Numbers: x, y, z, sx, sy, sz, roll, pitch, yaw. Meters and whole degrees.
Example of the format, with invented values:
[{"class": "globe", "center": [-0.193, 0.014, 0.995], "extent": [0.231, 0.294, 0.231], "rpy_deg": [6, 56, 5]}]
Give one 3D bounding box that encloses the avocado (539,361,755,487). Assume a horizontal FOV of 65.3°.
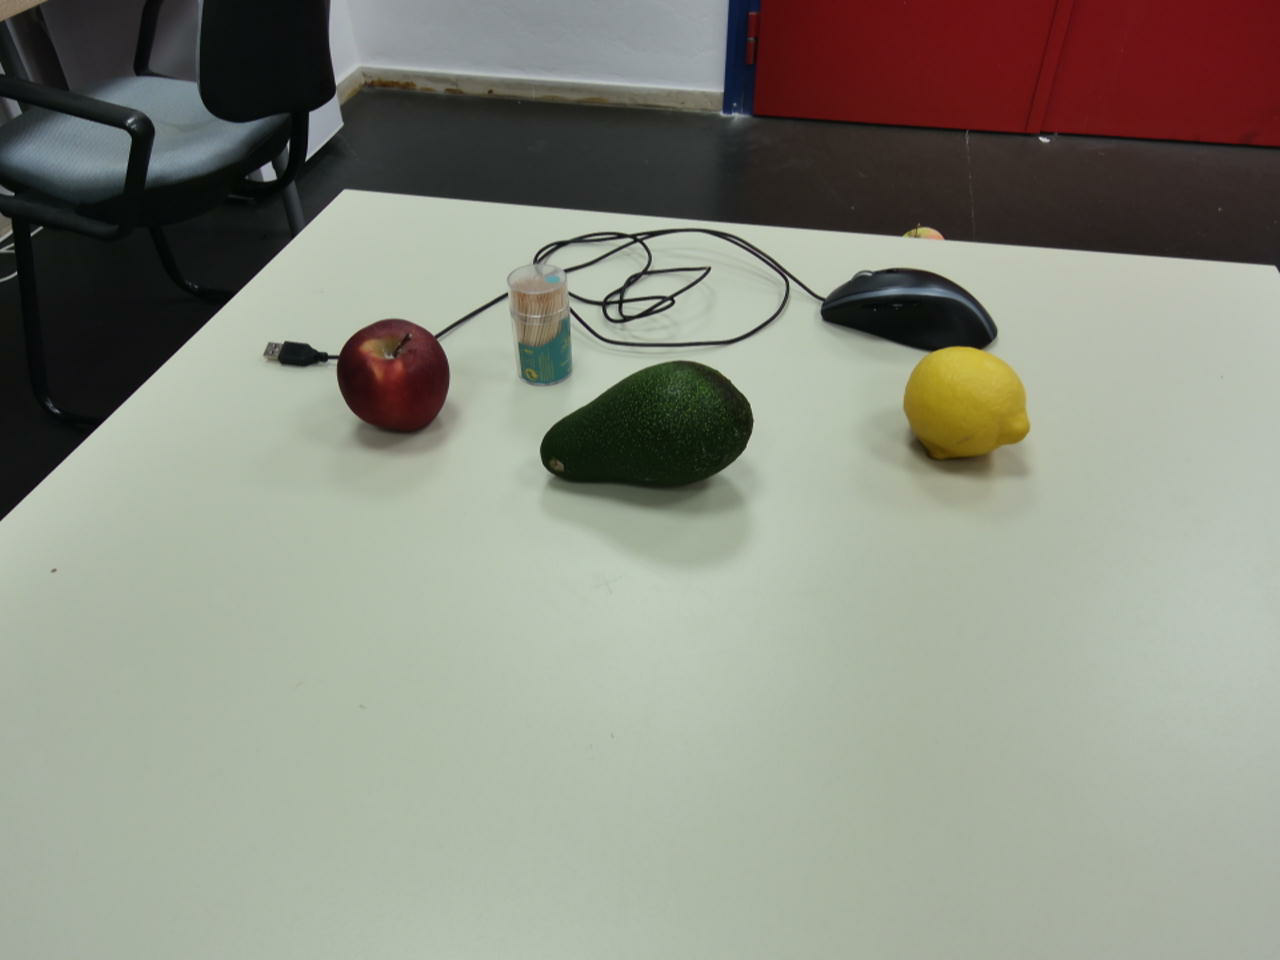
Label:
[{"class": "avocado", "center": [0.006, -0.036, 0.588], "extent": [0.123, 0.076, 0.074], "rpy_deg": [12, 41, 15]}]
